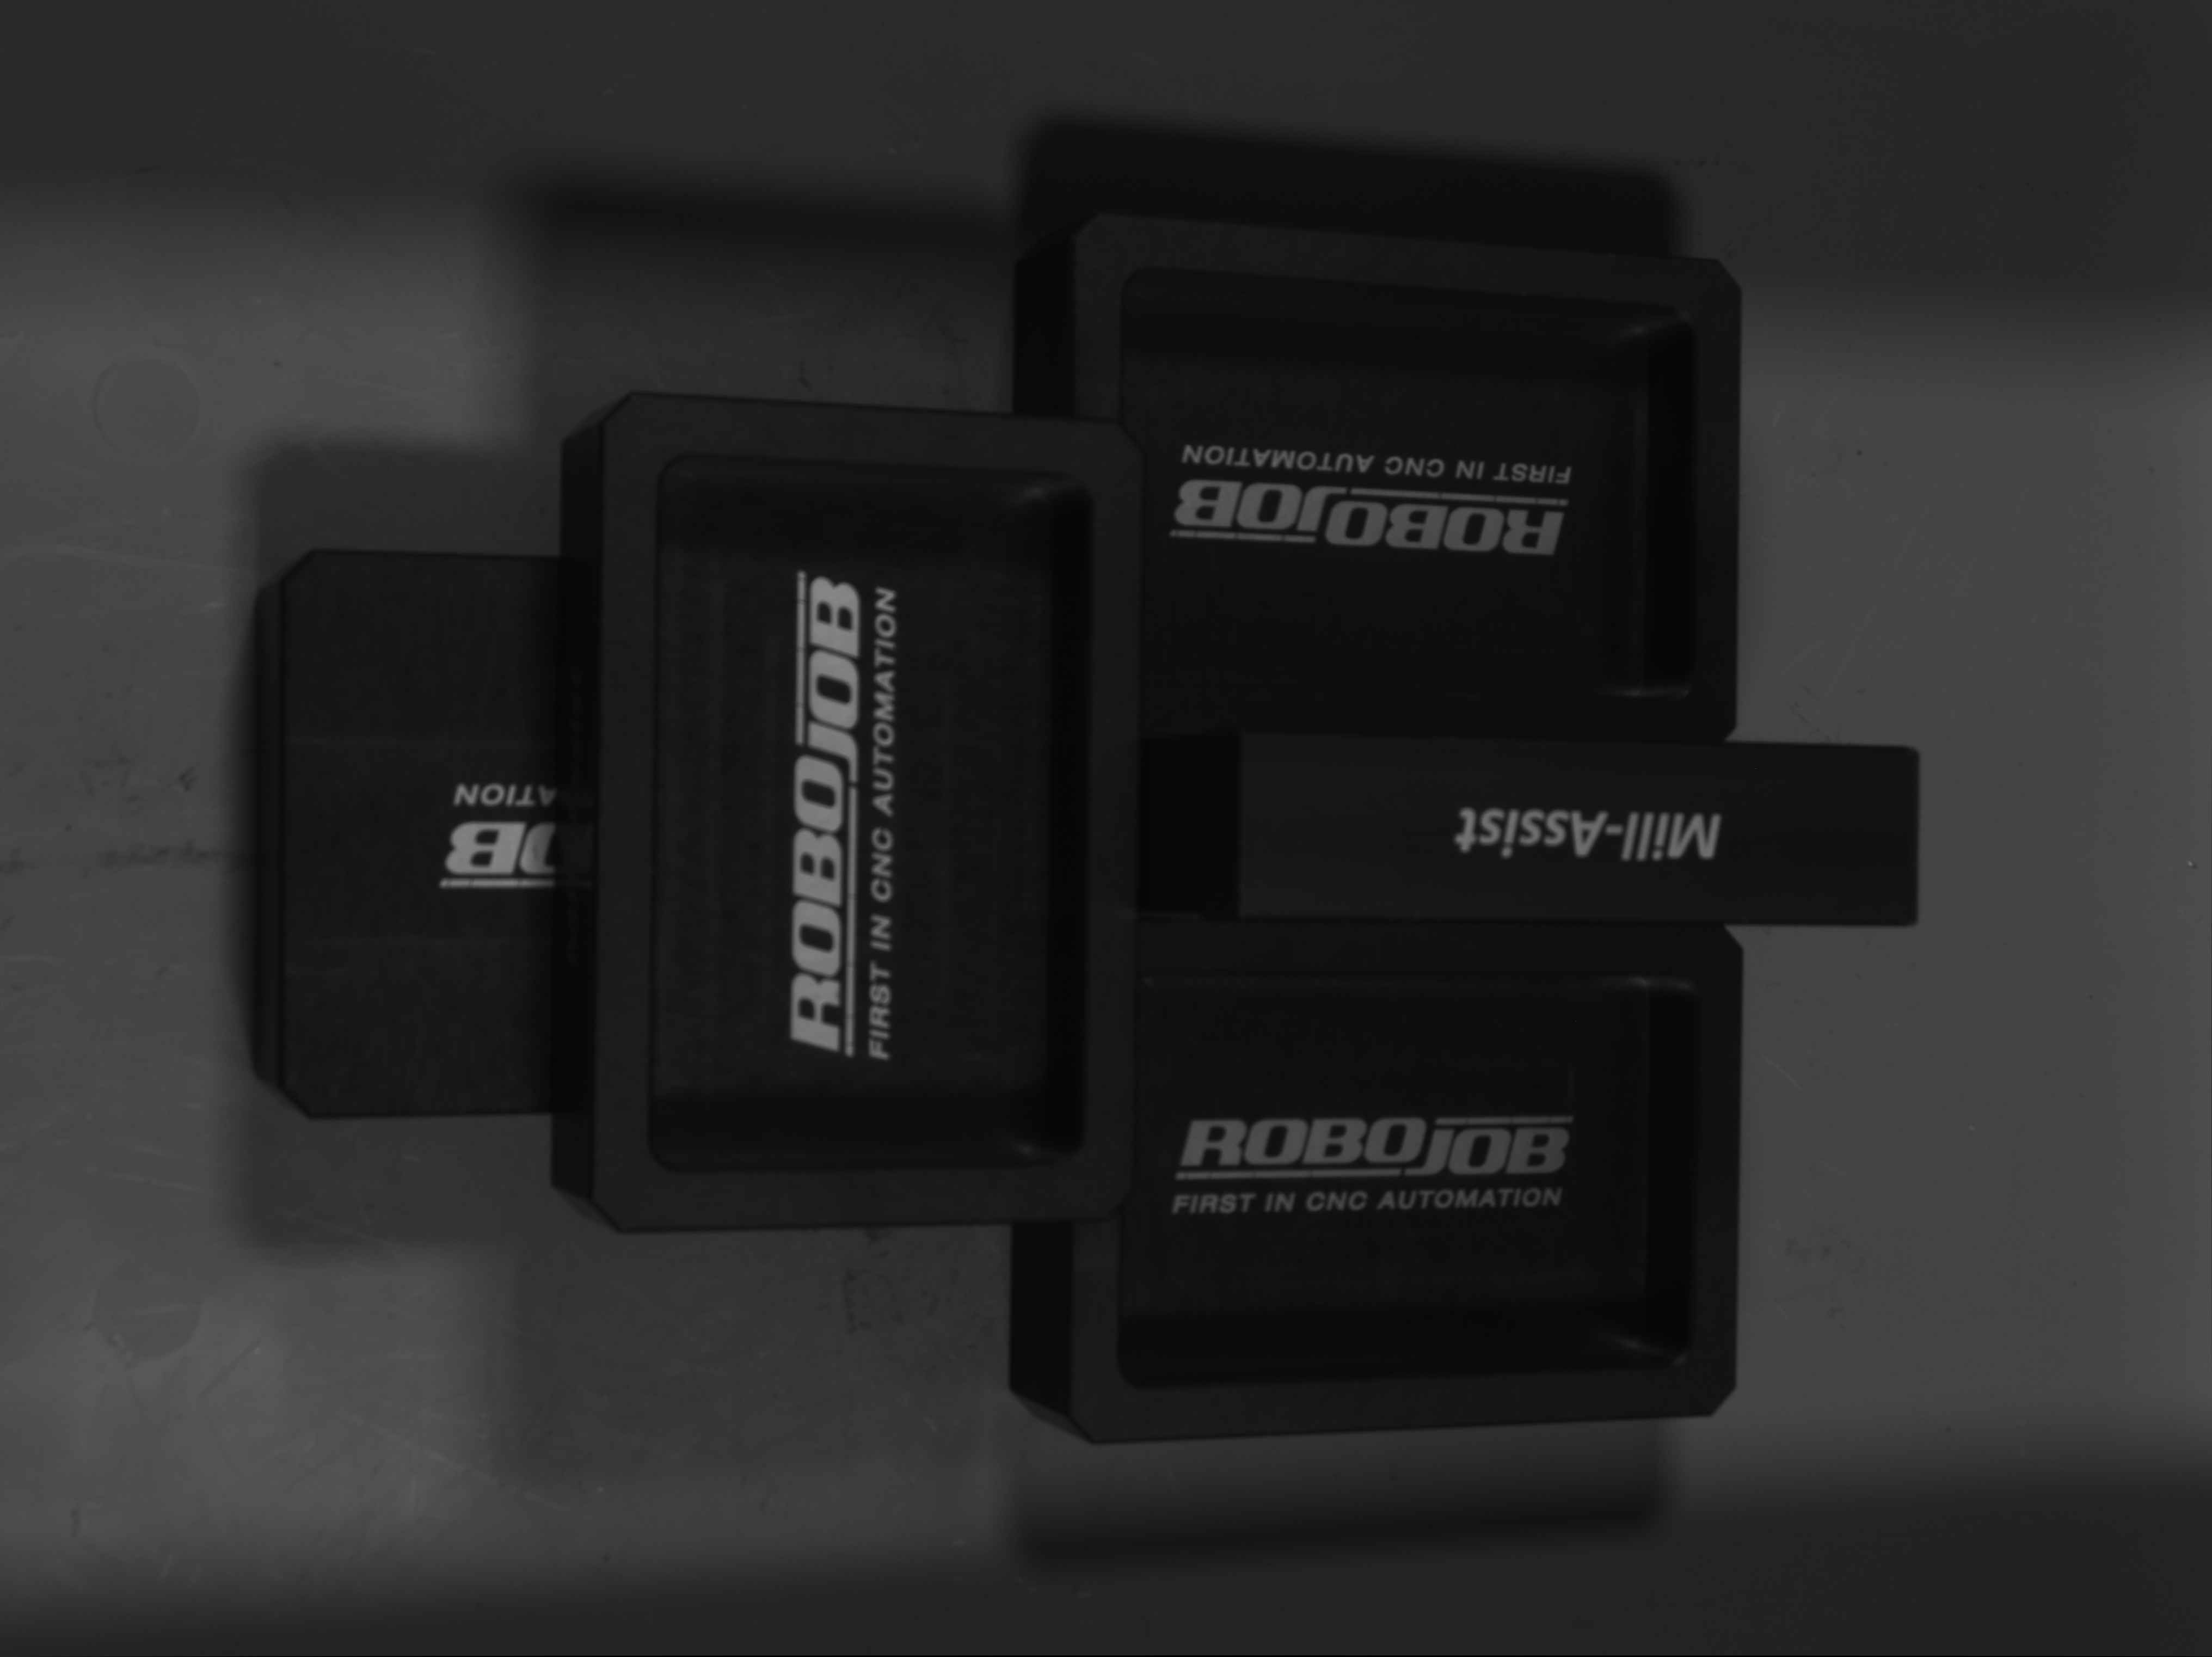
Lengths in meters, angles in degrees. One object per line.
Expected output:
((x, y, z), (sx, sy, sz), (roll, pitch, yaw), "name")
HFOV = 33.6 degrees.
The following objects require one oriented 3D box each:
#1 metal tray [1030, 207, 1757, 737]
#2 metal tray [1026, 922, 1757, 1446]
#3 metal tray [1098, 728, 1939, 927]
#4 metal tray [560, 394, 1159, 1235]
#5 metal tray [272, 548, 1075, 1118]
((0.052, -0.060, 0.659), (0.130, 0.030, 0.090), (1, 90, -20), "metal tray")
((0.052, 0.061, 0.658), (0.130, 0.030, 0.090), (1, 90, -20), "metal tray")
((0.065, 0.001, 0.630), (0.130, 0.090, 0.030), (1, 90, -20), "metal tray")
((-0.040, -0.001, 0.592), (0.090, 0.030, 0.130), (1, 90, -20), "metal tray")
((-0.071, 0.001, 0.612), (0.130, 0.030, 0.090), (0, 90, -20), "metal tray")
